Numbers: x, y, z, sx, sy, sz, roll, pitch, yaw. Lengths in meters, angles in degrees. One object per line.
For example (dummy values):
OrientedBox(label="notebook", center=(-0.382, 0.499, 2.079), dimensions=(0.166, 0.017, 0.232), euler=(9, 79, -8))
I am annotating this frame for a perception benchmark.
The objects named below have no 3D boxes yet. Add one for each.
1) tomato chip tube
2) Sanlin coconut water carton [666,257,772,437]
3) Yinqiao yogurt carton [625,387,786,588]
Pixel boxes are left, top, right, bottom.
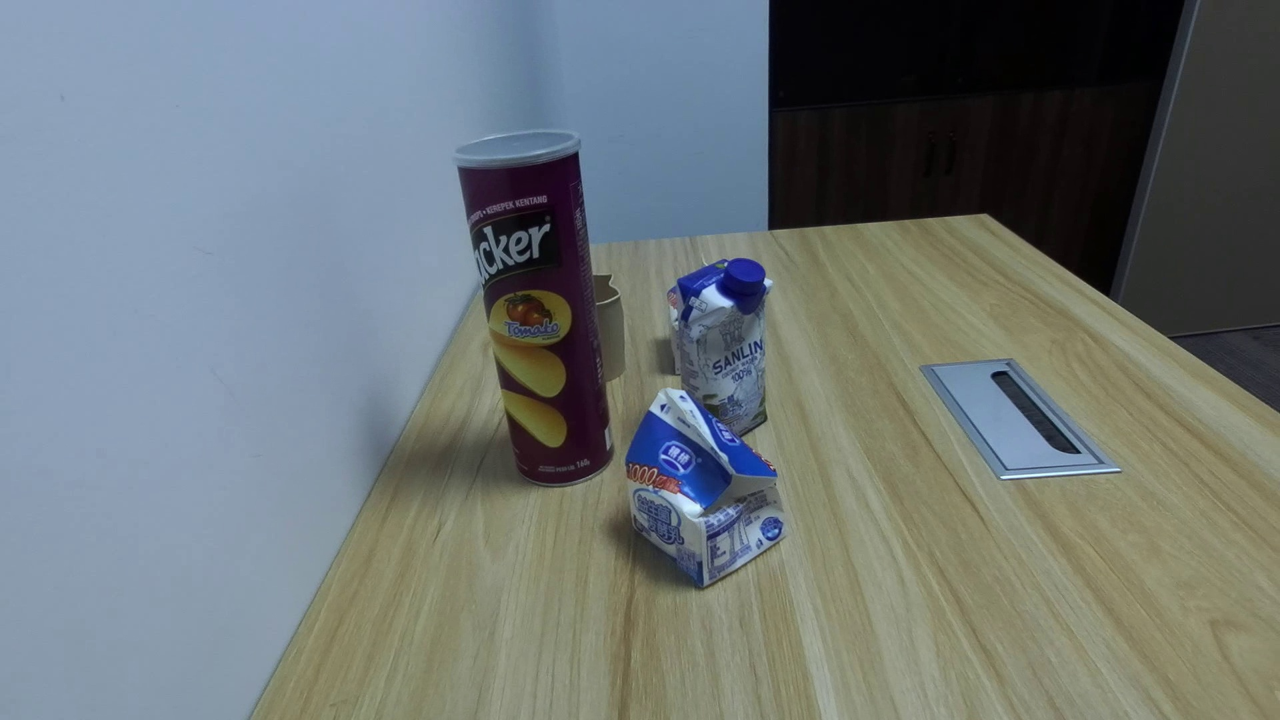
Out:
OrientedBox(label="tomato chip tube", center=(-0.067, -0.029, 0.490), dimensions=(0.078, 0.234, 0.078), euler=(-4, 27, 2))
OrientedBox(label="Sanlin coconut water carton", center=(0.063, -0.009, 0.529), dimensions=(0.078, 0.142, 0.057), euler=(-27, 40, -35))
OrientedBox(label="Yinqiao yogurt carton", center=(0.037, 0.068, 0.434), dimensions=(0.077, 0.093, 0.082), euler=(-22, 32, -30))
